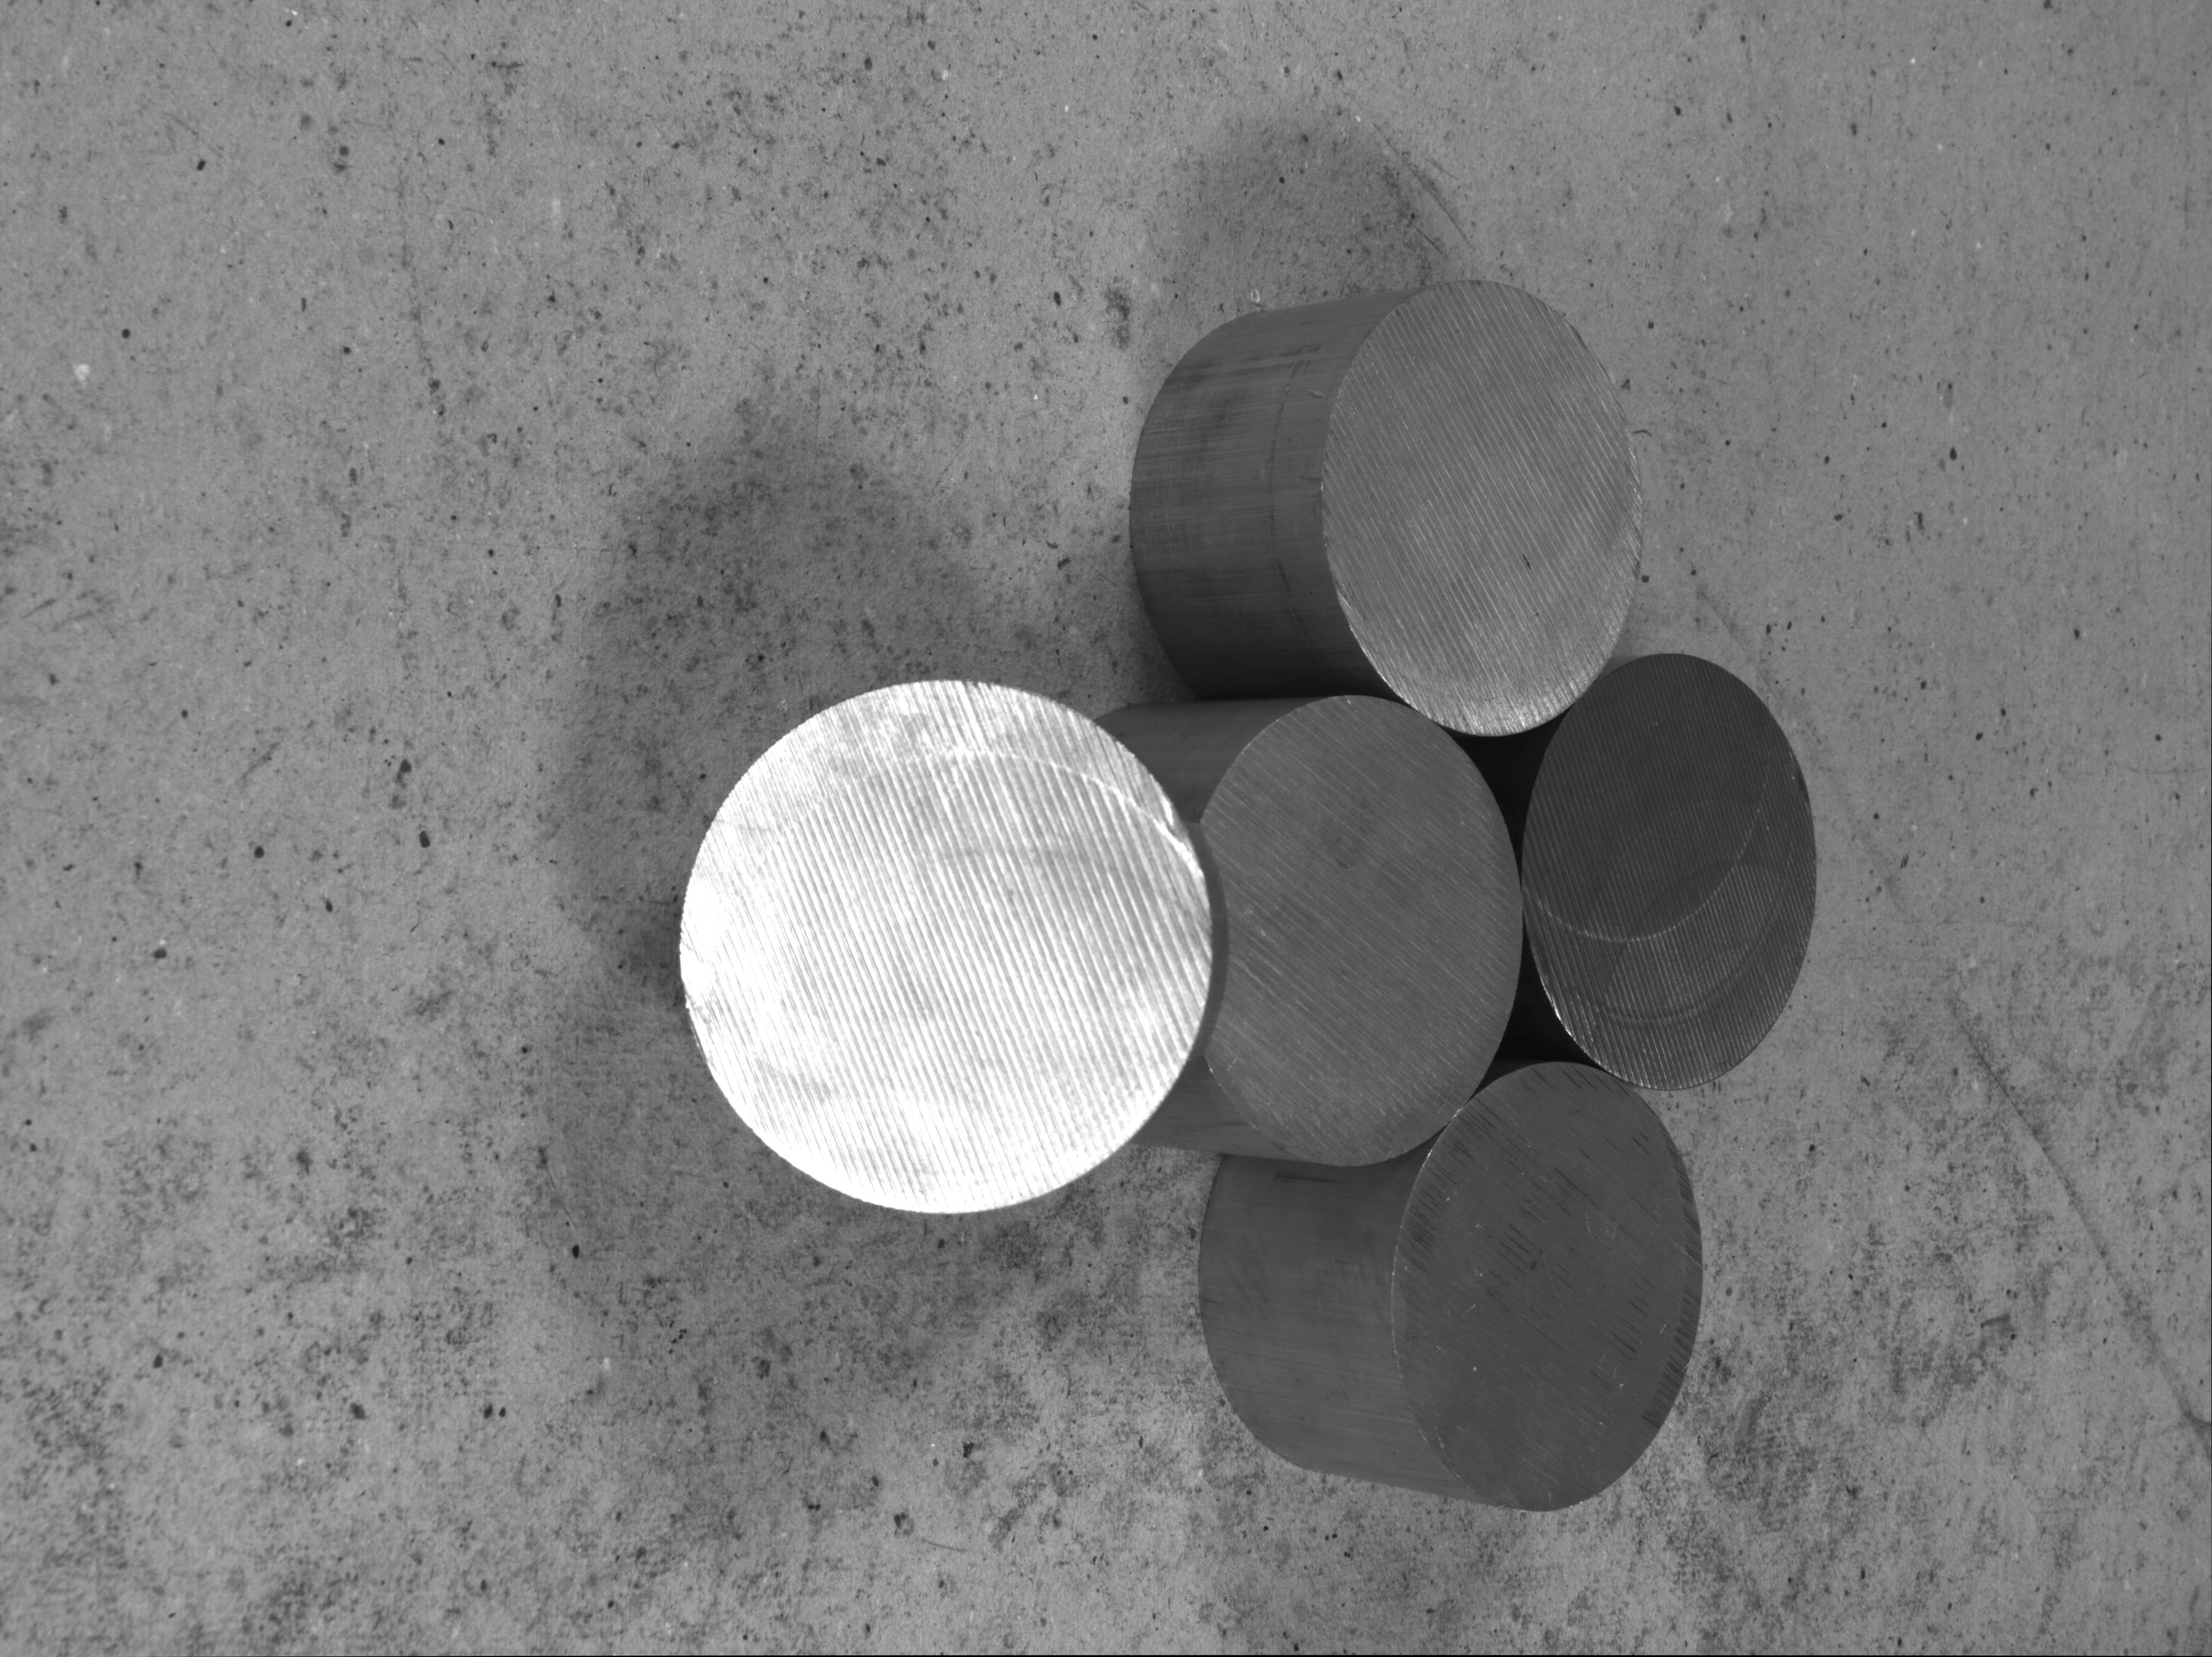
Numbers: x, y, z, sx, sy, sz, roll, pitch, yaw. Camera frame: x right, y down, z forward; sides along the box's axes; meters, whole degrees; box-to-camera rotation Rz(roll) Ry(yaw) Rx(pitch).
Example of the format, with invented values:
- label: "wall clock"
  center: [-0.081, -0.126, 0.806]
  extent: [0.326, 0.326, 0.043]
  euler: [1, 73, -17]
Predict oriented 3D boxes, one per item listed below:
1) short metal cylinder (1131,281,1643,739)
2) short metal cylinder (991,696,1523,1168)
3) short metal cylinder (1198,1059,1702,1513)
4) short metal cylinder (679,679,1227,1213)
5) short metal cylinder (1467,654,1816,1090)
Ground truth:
- label: "short metal cylinder"
  center: [0.051, -0.056, 0.662]
  extent: [0.080, 0.050, 0.080]
  euler: [0, 90, -40]
- label: "short metal cylinder"
  center: [0.027, 0.018, 0.642]
  extent: [0.080, 0.050, 0.080]
  euler: [0, 90, -40]
- label: "short metal cylinder"
  center: [0.064, 0.082, 0.672]
  extent: [0.080, 0.050, 0.080]
  euler: [0, 90, -40]
- label: "short metal cylinder"
  center: [-0.022, 0.018, 0.575]
  extent: [0.080, 0.050, 0.080]
  euler: [0, 89, 5]
- label: "short metal cylinder"
  center: [0.089, 0.008, 0.693]
  extent: [0.080, 0.050, 0.080]
  euler: [0, 90, -40]
